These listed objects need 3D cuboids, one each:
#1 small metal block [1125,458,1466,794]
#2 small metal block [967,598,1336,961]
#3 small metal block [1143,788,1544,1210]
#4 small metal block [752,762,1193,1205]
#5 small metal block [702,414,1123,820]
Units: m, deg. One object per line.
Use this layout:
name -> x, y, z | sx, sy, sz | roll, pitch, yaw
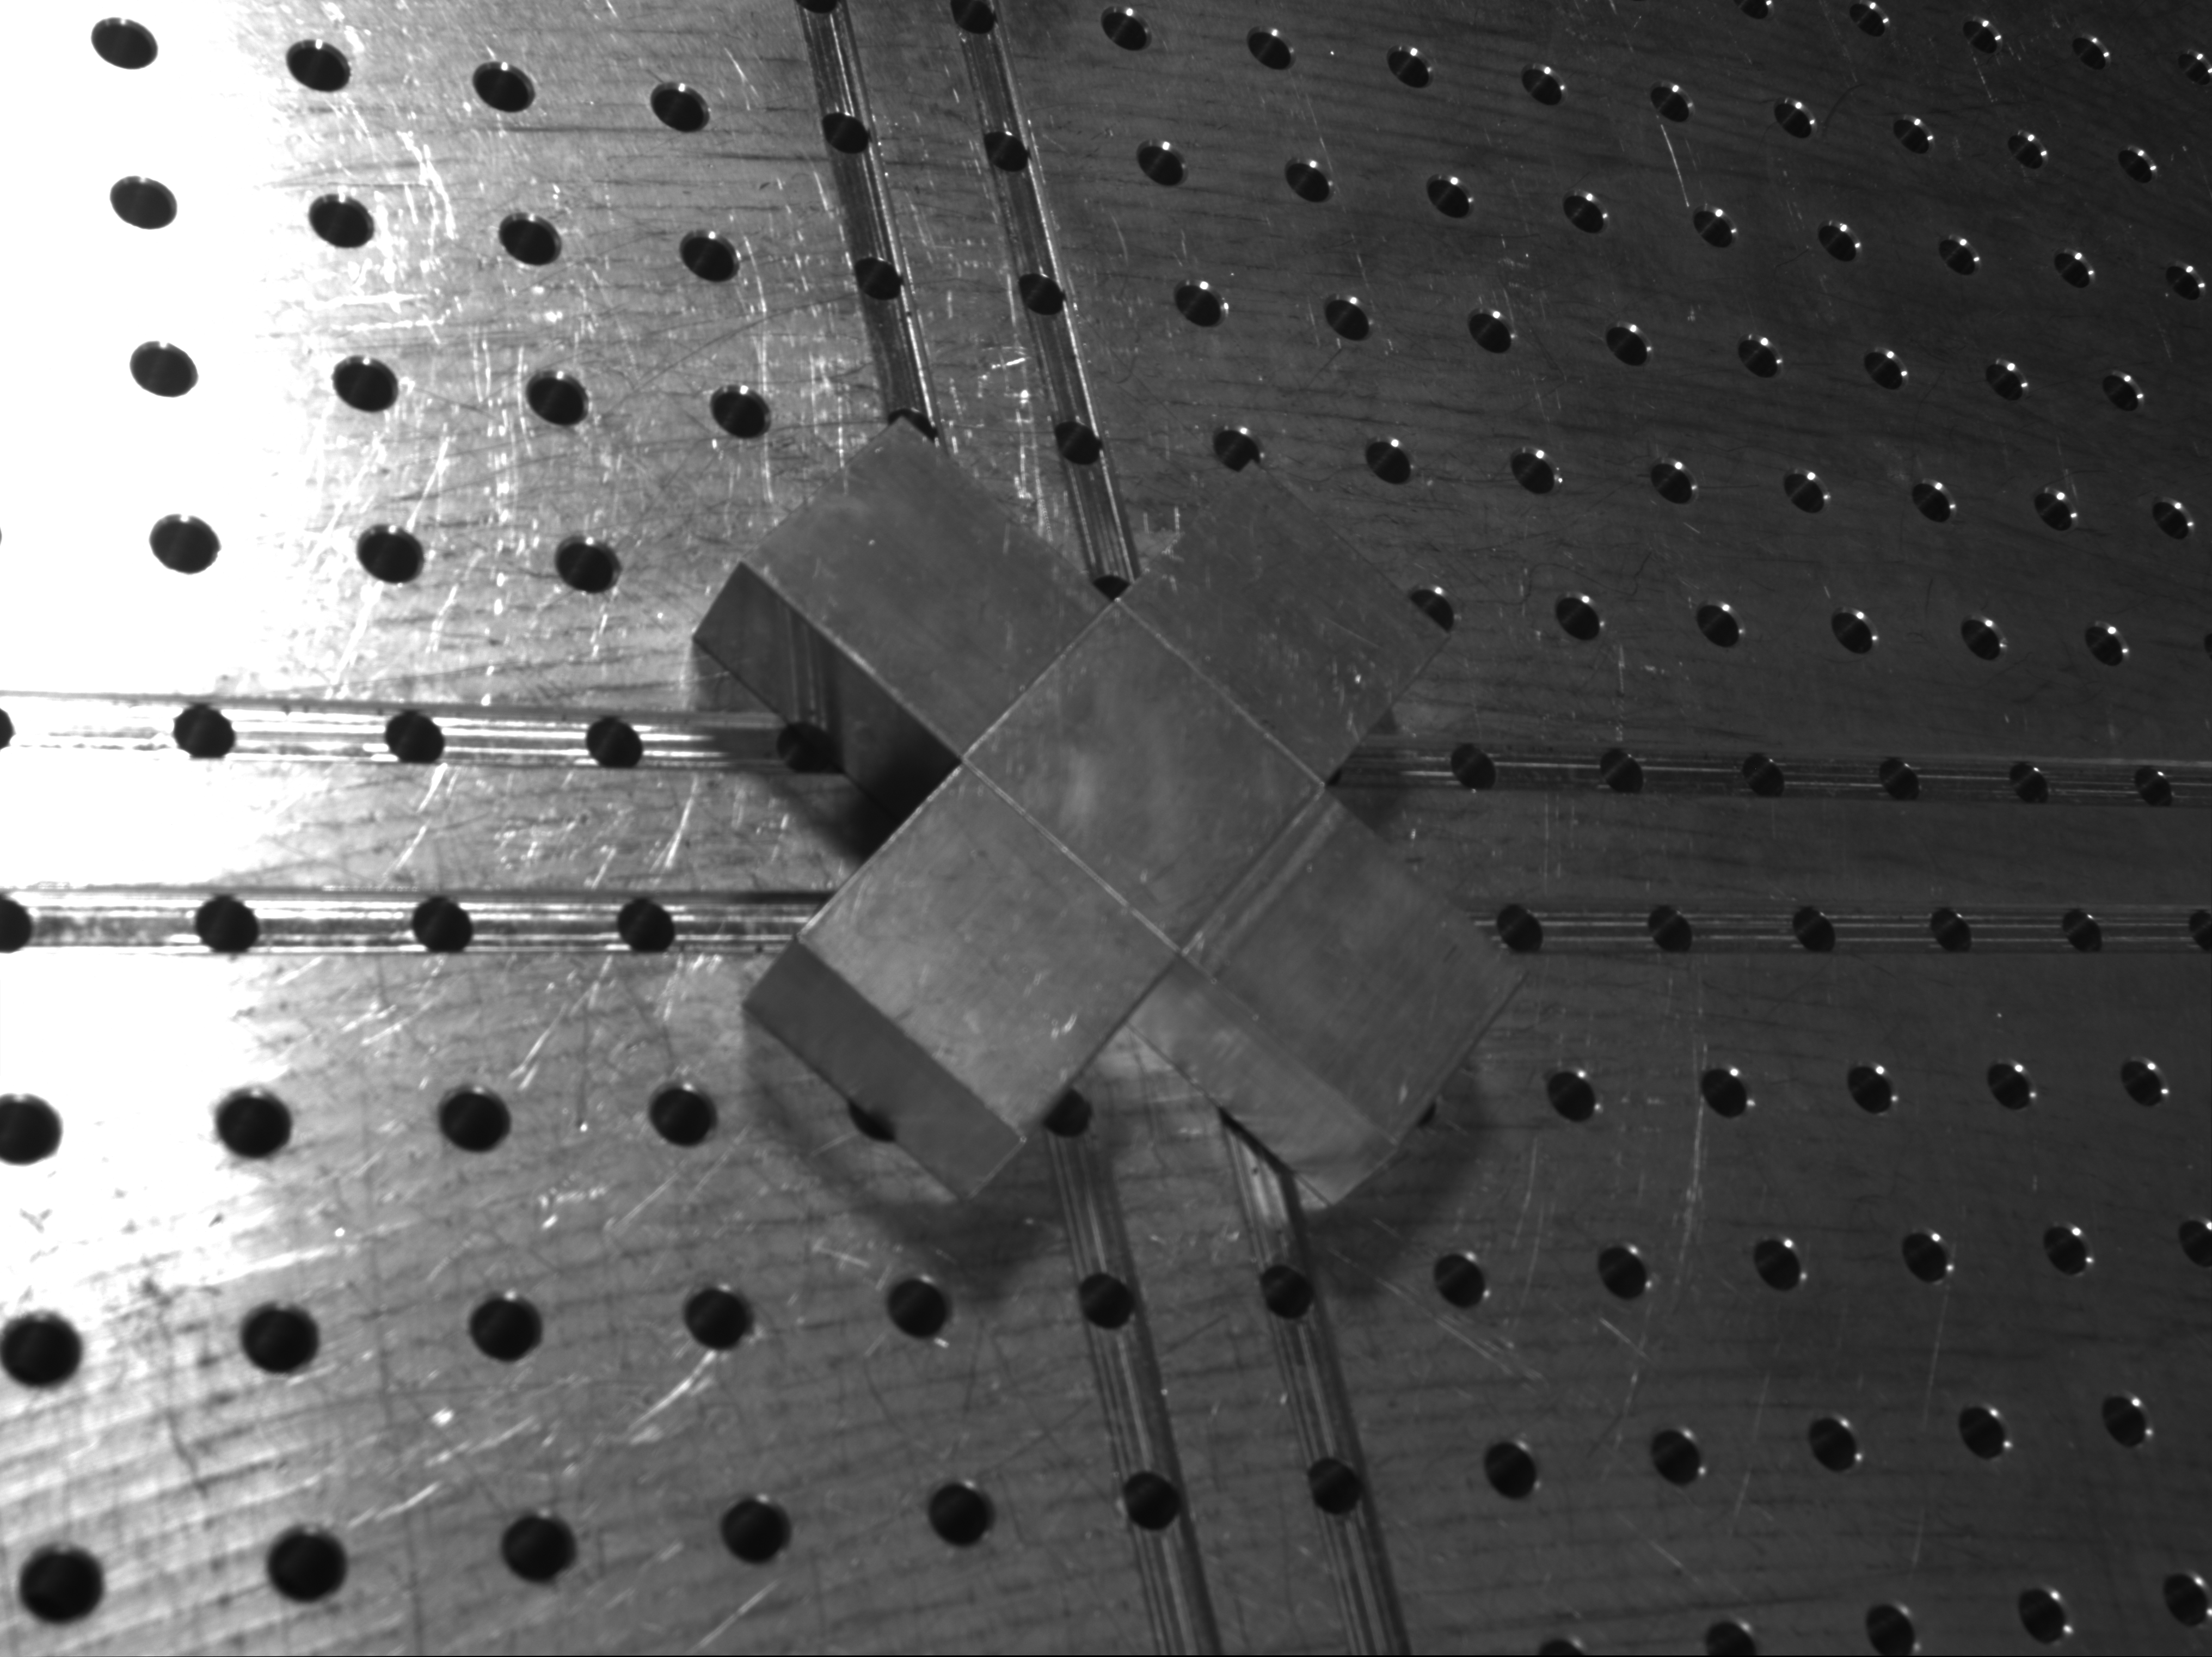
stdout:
small metal block -> 0.031, -0.032, 0.678 | 0.050, 0.025, 0.050 | 42, 51, 0
small metal block -> 0.004, -0.004, 0.646 | 0.050, 0.025, 0.050 | 42, 51, 0
small metal block -> 0.041, 0.030, 0.647 | 0.050, 0.025, 0.050 | 42, 51, 1
small metal block -> -0.022, 0.026, 0.615 | 0.050, 0.025, 0.050 | 42, 51, 0
small metal block -> -0.034, -0.037, 0.647 | 0.050, 0.025, 0.050 | 42, 51, 1
